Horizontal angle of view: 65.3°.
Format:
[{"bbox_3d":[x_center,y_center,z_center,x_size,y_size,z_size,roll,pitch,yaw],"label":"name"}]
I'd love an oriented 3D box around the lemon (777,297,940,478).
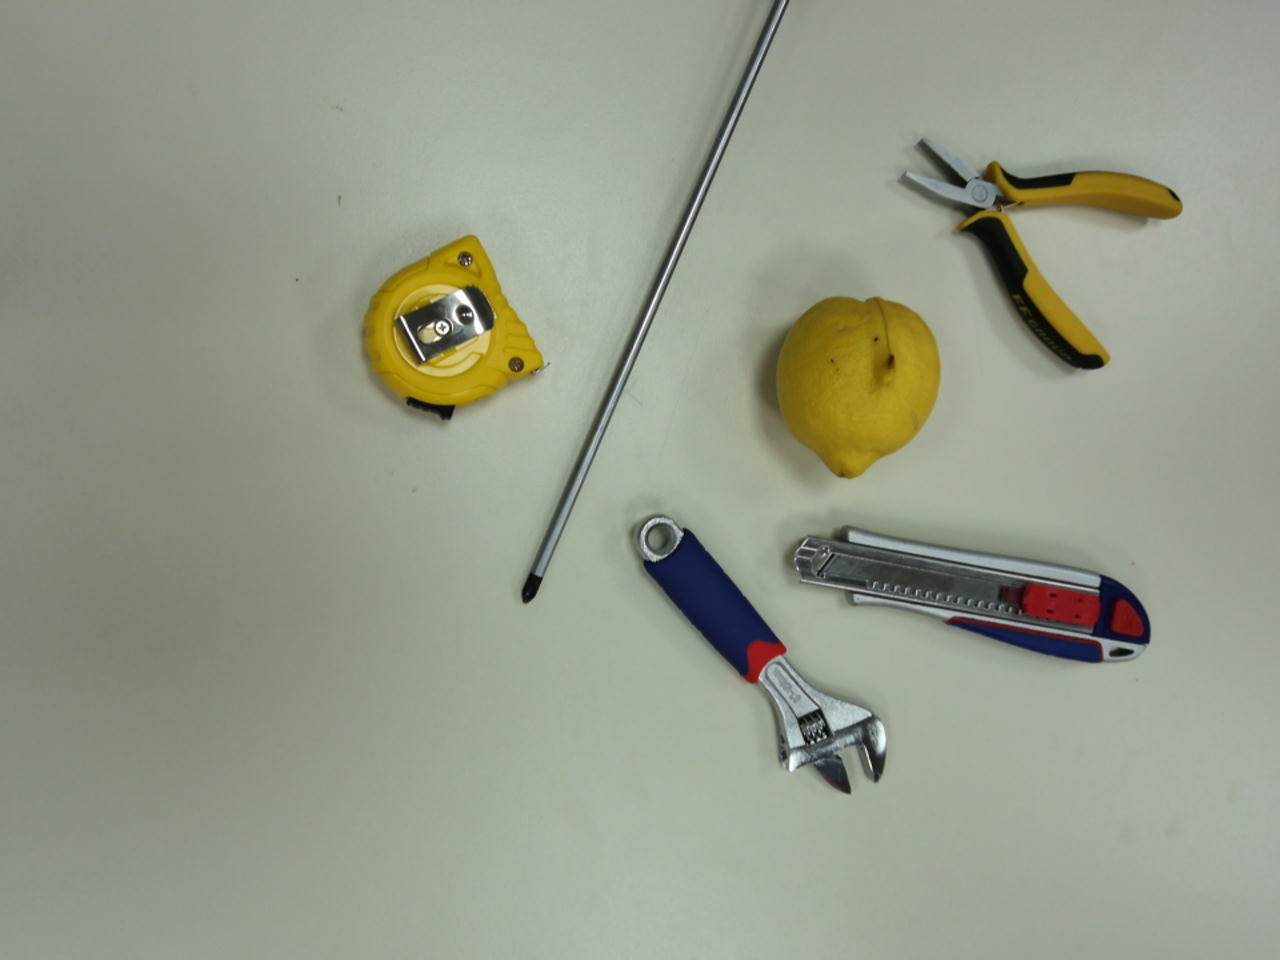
[{"bbox_3d":[0.092,-0.044,0.422,0.071,0.071,0.070,-44,99,-8],"label":"lemon"}]
